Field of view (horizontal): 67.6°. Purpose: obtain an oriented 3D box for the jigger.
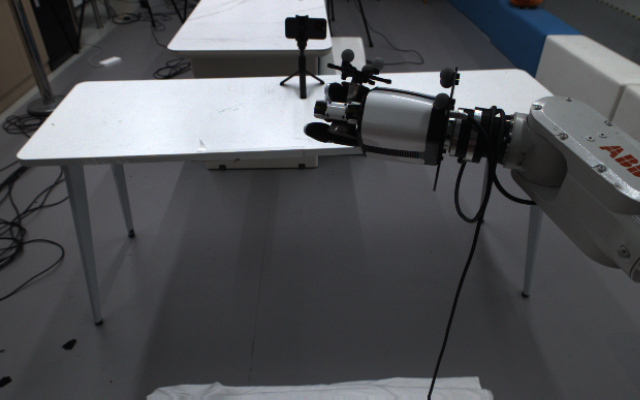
[{"bbox_3d":[0.036,-0.123,0.654,0.043,0.071,0.043,16,2,-1],"label":"jigger"}]
